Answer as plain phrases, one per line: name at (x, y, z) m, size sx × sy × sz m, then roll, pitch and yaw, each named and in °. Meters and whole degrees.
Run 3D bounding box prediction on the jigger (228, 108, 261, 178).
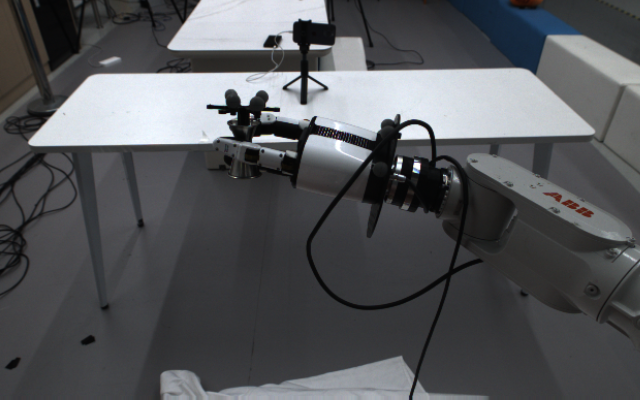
jigger at (-0.096, -0.065, 0.616) m, size 0.043 × 0.071 × 0.043 m, roll 2°, pitch 20°, yaw -1°
